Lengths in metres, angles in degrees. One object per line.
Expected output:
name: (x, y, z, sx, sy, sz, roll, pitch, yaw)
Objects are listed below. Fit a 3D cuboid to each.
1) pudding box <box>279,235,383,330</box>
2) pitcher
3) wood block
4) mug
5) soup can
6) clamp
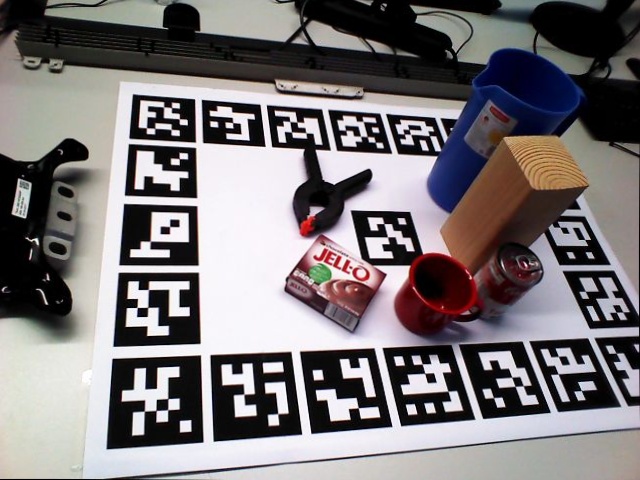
pudding box: (0.015, 0.054, 0.695, 0.114, 0.039, 0.089, 31, 56, 10)
pitcher: (0.283, -0.148, 0.779, 0.189, 0.244, 0.132, -1, 53, -12)
wood block: (0.270, -0.041, 0.718, 0.090, 0.207, 0.090, 1, 55, -19)
mug: (0.163, 0.082, 0.682, 0.117, 0.082, 0.092, 30, 51, 9)
soup can: (0.253, 0.062, 0.705, 0.068, 0.102, 0.067, 6, 56, -10)
clamp: (0.015, -0.073, 0.794, 0.122, 0.037, 0.164, 29, 53, -2)
